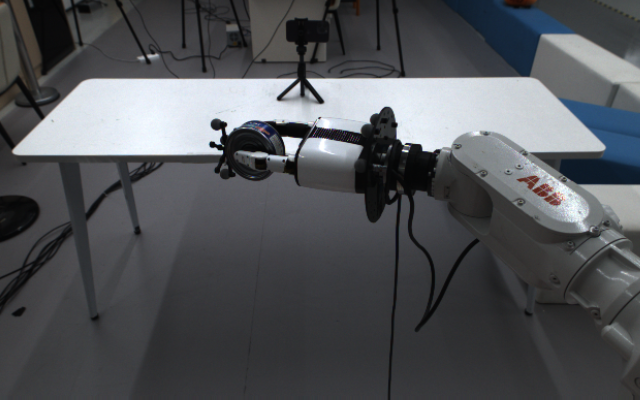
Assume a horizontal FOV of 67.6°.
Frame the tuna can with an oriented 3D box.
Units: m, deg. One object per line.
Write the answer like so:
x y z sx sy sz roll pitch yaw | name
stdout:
-0.096 -0.074 0.721 0.085 0.085 0.034 12 29 14 | tuna can
